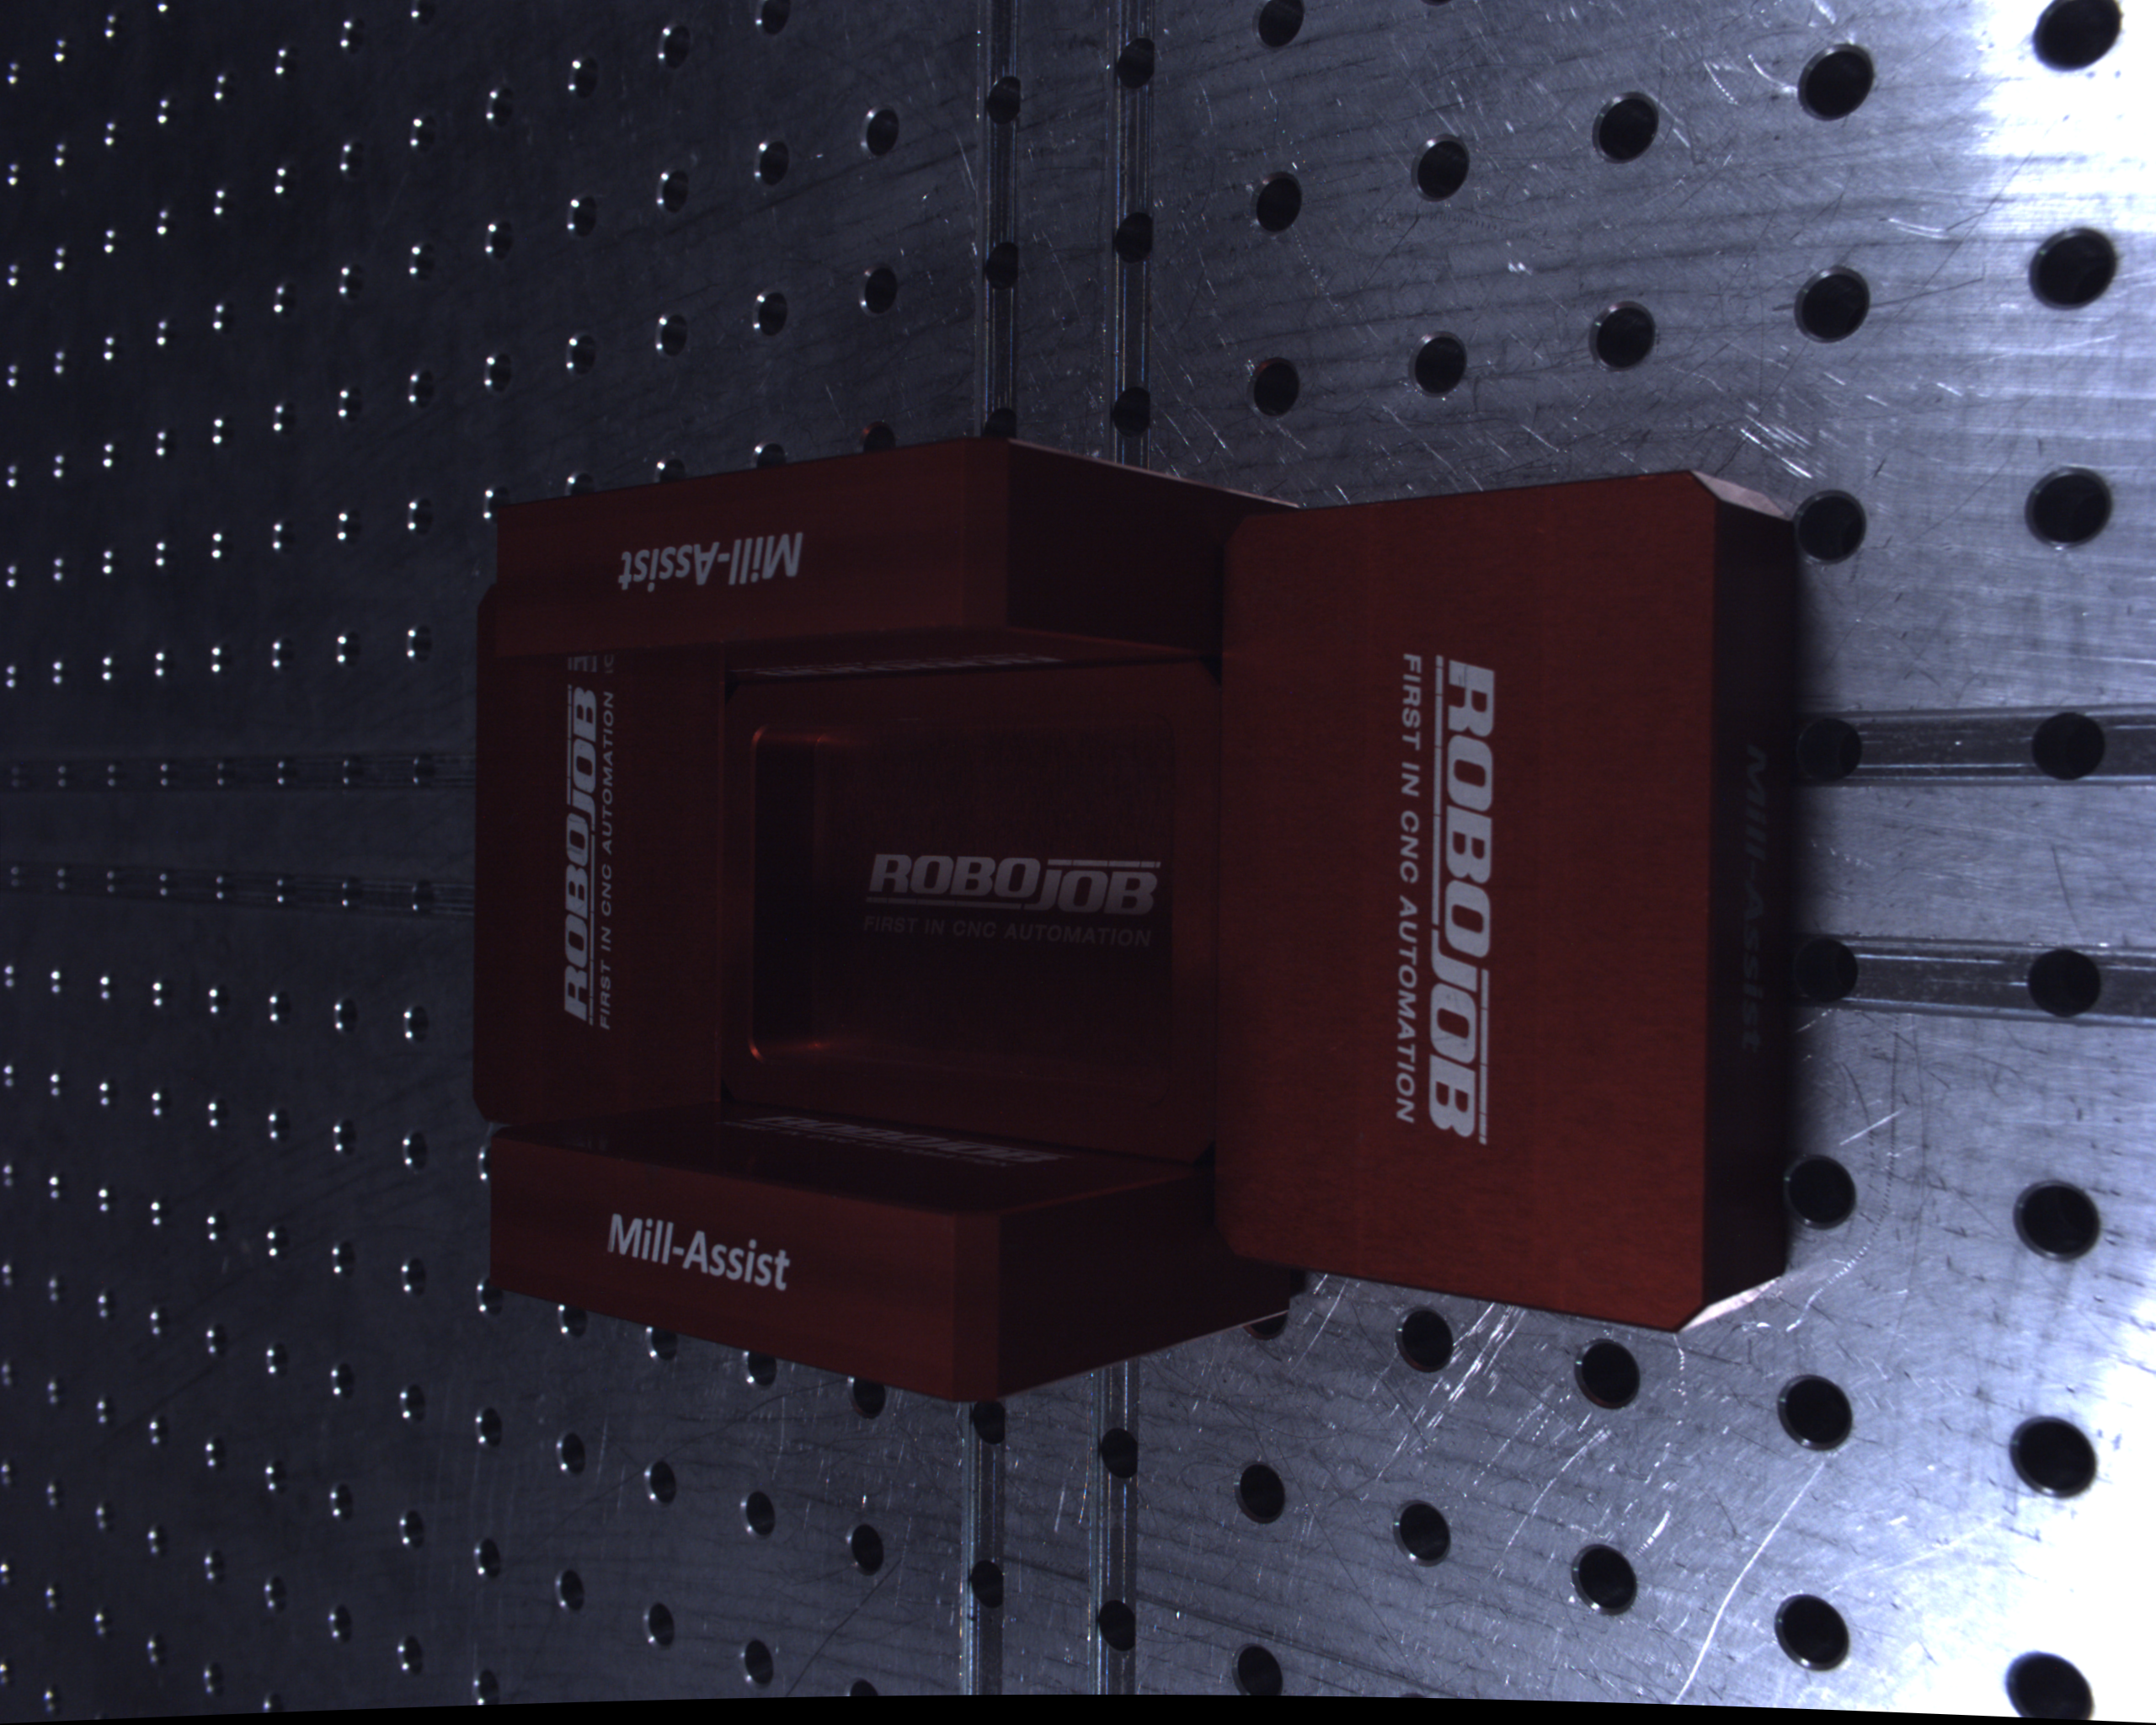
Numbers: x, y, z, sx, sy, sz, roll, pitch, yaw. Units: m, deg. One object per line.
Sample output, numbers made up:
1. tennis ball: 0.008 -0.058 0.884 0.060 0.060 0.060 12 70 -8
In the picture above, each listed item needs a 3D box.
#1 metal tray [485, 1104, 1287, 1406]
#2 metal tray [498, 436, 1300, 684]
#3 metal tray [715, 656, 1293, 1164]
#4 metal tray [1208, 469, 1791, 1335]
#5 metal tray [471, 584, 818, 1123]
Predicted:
1. metal tray: -0.037 0.068 0.394 0.130 0.091 0.030 1 91 39
2. metal tray: -0.035 -0.052 0.394 0.130 0.091 0.030 1 91 39
3. metal tray: -0.018 0.007 0.416 0.130 0.030 0.089 1 91 39
4. metal tray: 0.068 0.005 0.347 0.090 0.030 0.129 1 91 38
5. metal tray: -0.102 -0.001 0.487 0.090 0.030 0.129 1 91 39
